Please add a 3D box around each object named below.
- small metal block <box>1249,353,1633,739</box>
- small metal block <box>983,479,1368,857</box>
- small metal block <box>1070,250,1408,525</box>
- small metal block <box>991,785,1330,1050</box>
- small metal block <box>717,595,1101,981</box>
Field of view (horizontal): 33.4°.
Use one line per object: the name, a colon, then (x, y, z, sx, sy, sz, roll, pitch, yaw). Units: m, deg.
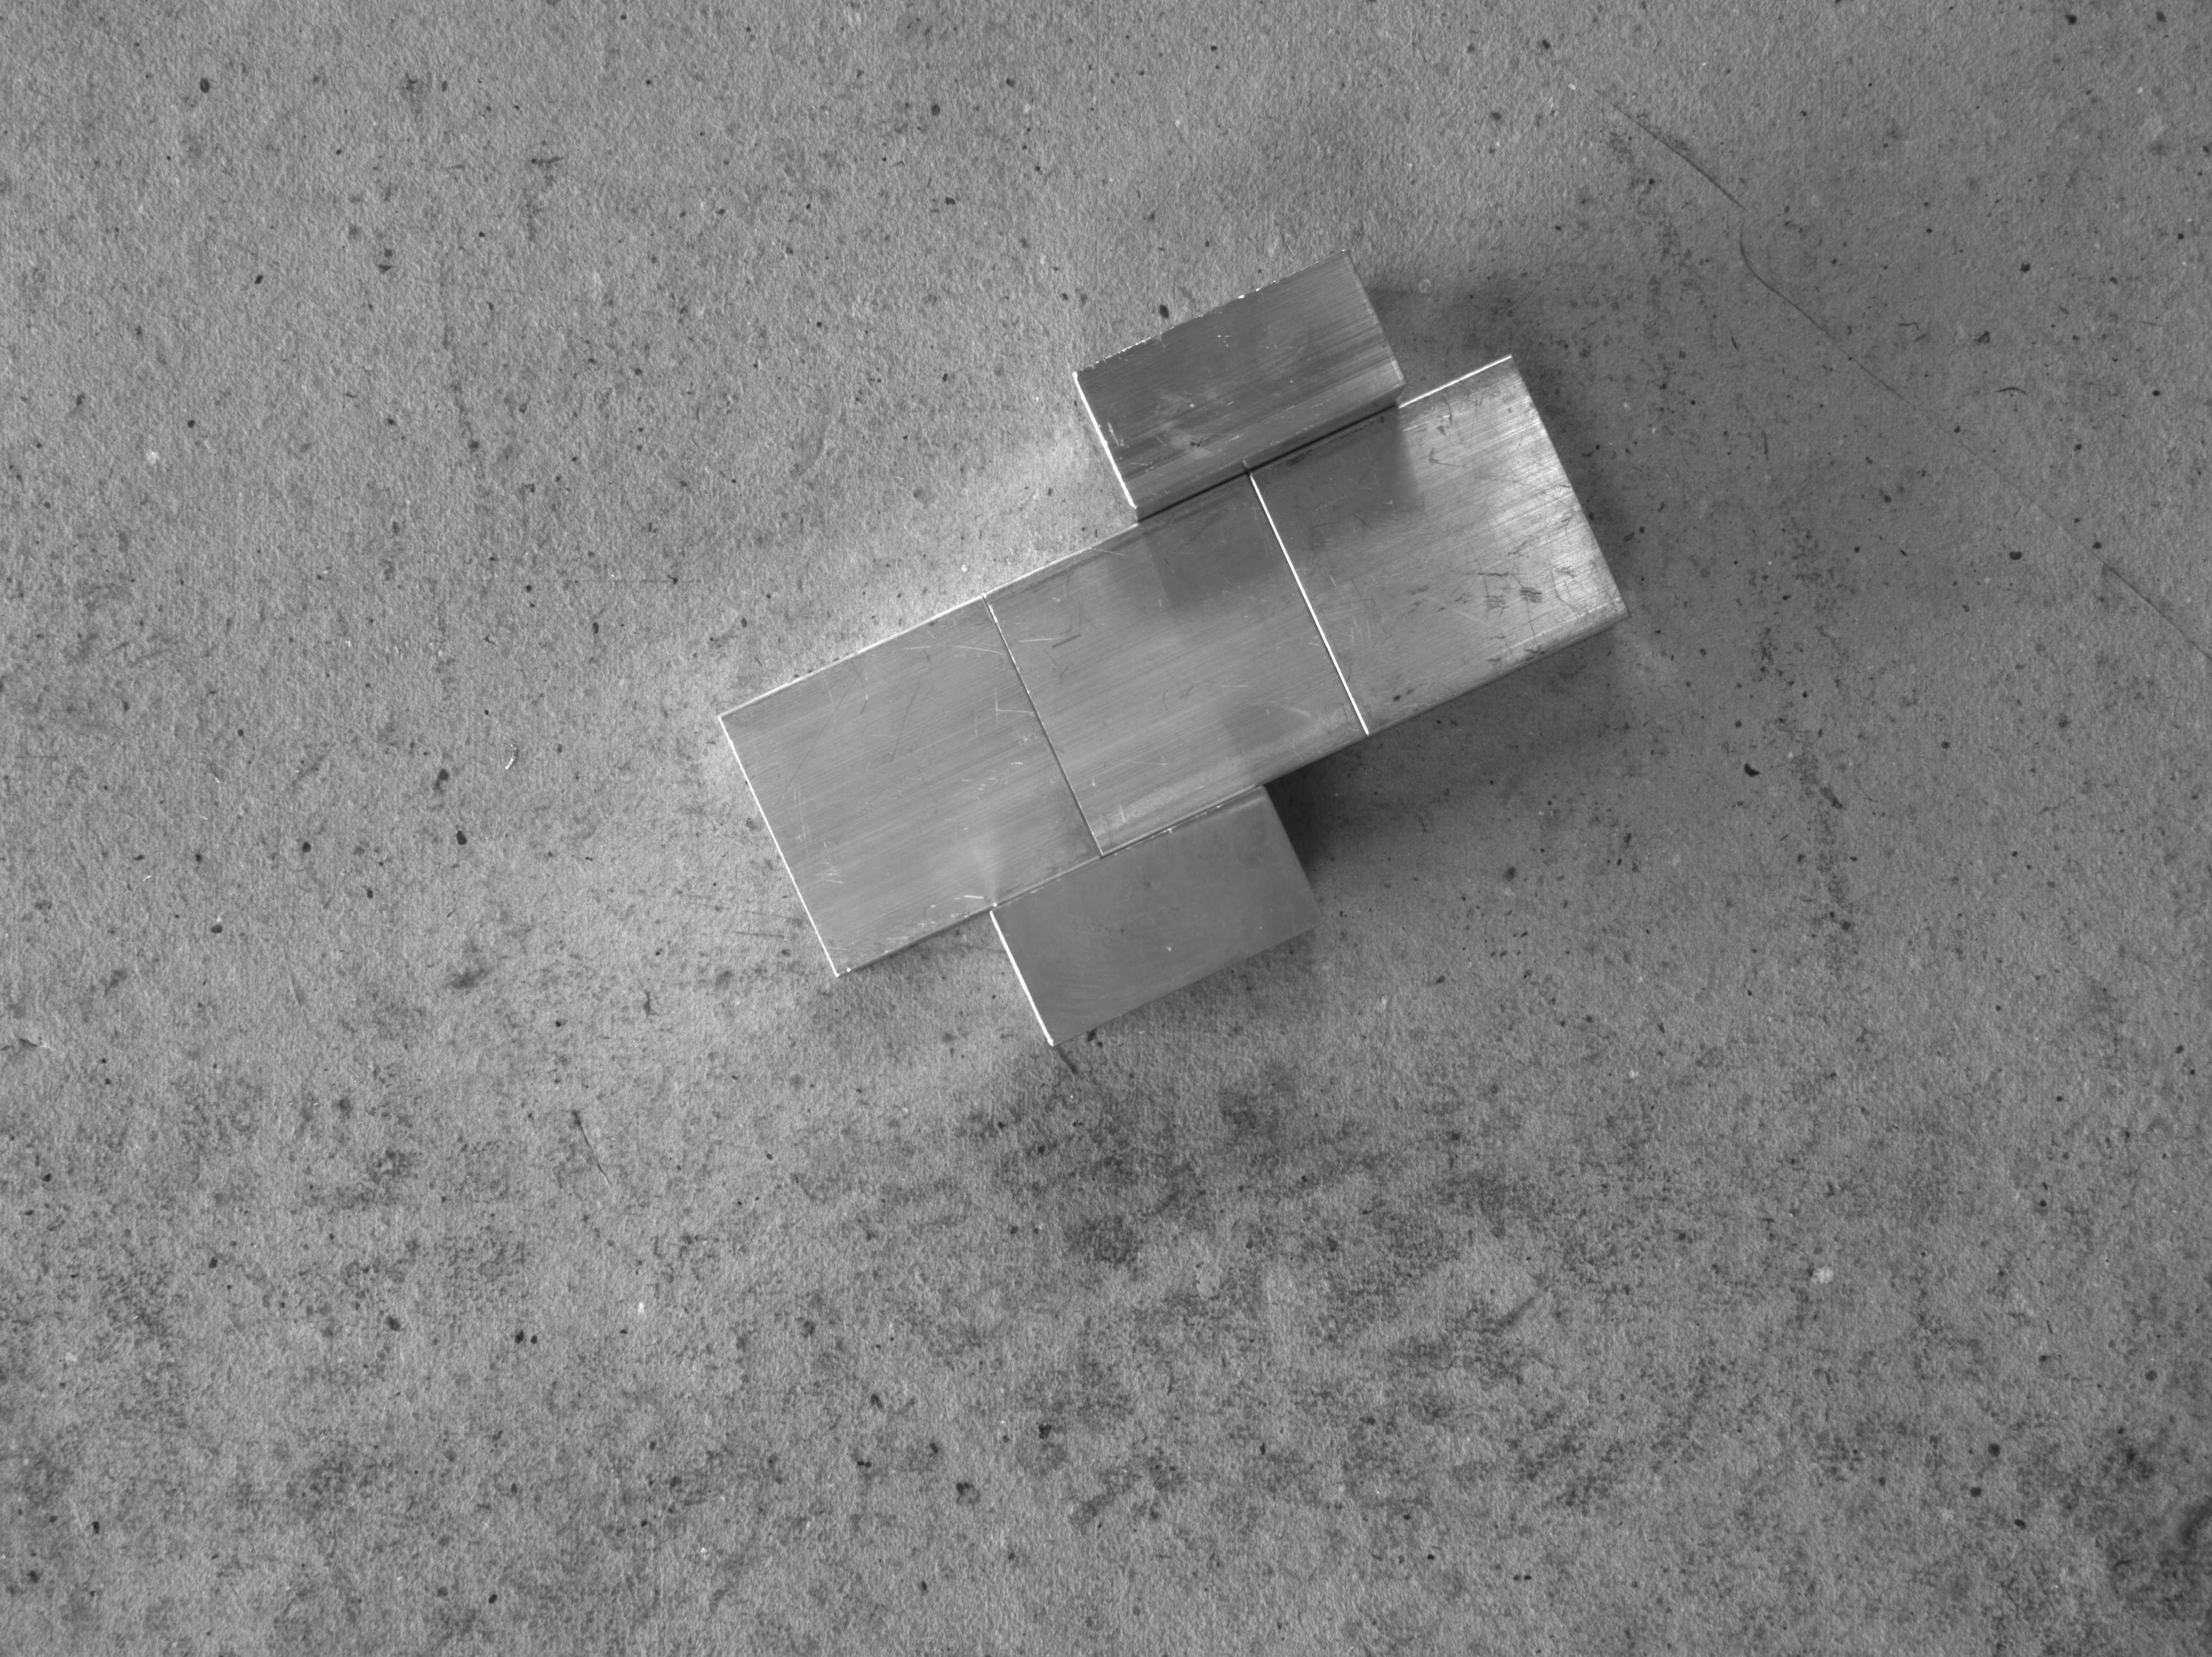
small metal block: (0.057, -0.049, 0.646, 0.050, 0.025, 0.050, -25, 90, 0)
small metal block: (0.012, -0.028, 0.646, 0.050, 0.025, 0.050, -25, 90, 0)
small metal block: (0.022, -0.074, 0.634, 0.050, 0.050, 0.025, -24, 90, 1)
small metal block: (0.009, 0.015, 0.634, 0.050, 0.050, 0.025, -25, 89, 0)
small metal block: (-0.034, -0.007, 0.646, 0.050, 0.025, 0.050, -25, 90, 0)
